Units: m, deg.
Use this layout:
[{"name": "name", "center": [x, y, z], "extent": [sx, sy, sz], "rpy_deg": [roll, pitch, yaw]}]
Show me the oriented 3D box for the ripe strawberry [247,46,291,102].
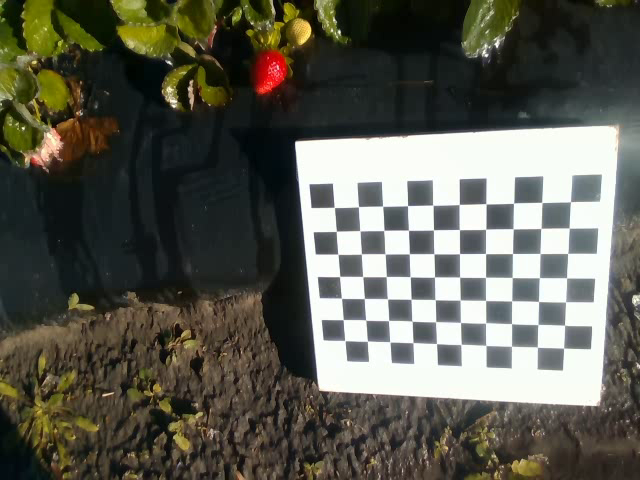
[{"name": "ripe strawberry", "center": [-0.040, -0.119, 0.566], "extent": [0.039, 0.039, 0.040], "rpy_deg": [-7, -47, 30]}]
